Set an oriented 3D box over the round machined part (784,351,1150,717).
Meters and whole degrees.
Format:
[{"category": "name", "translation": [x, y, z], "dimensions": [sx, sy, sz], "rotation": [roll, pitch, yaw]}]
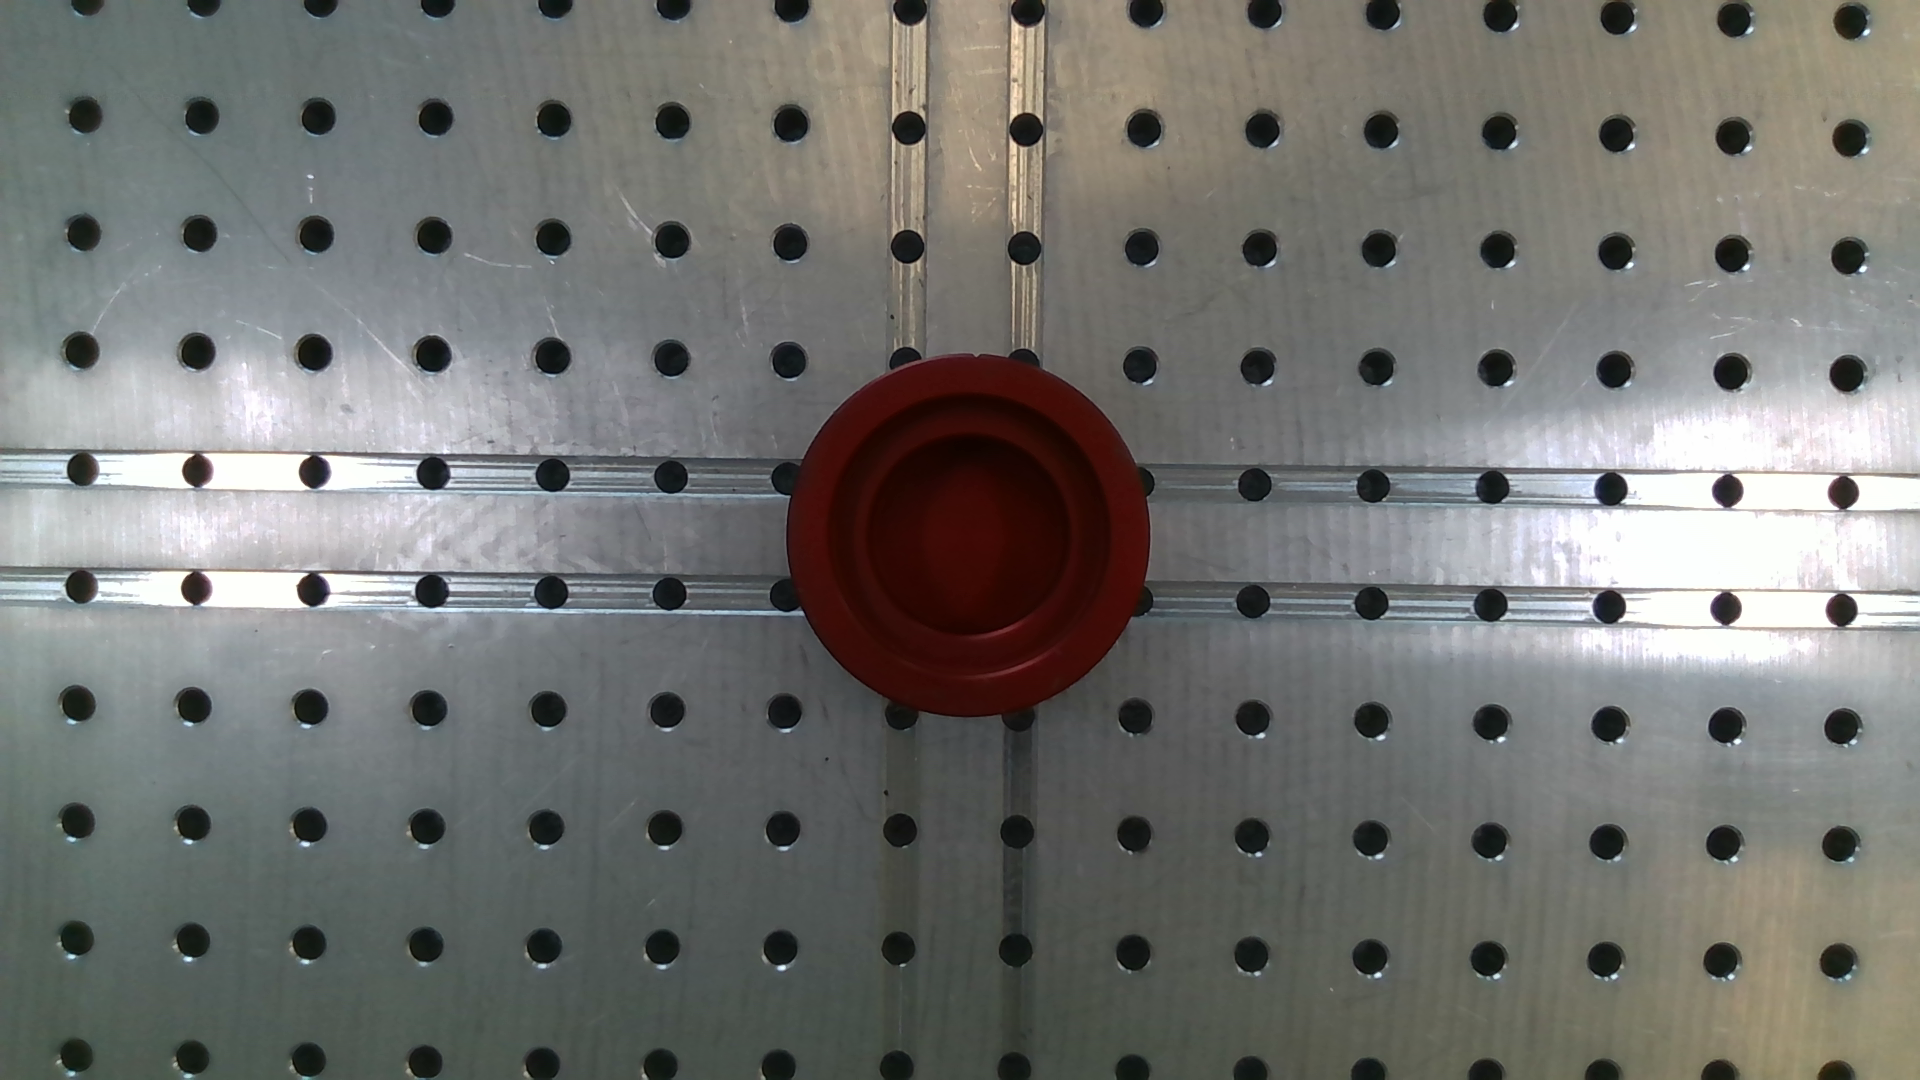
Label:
[{"category": "round machined part", "translation": [0.002, -0.002, 0.388], "dimensions": [0.098, 0.042, 0.098], "rotation": [0, 90, 0]}]
